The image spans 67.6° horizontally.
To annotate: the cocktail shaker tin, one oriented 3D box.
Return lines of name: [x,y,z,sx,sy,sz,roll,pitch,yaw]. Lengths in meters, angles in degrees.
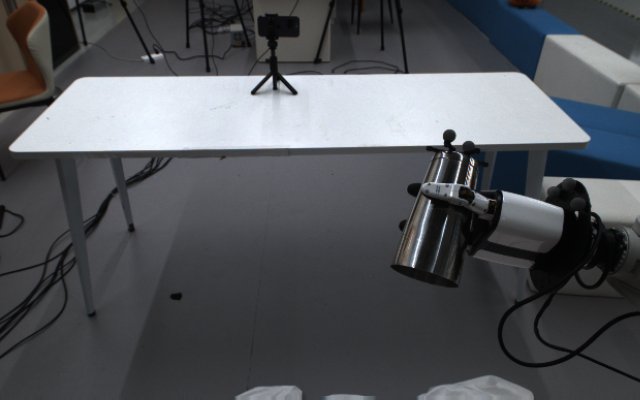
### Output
cocktail shaker tin: [0.165,0.023,0.659,0.093,0.093,0.170,15,75,17]
